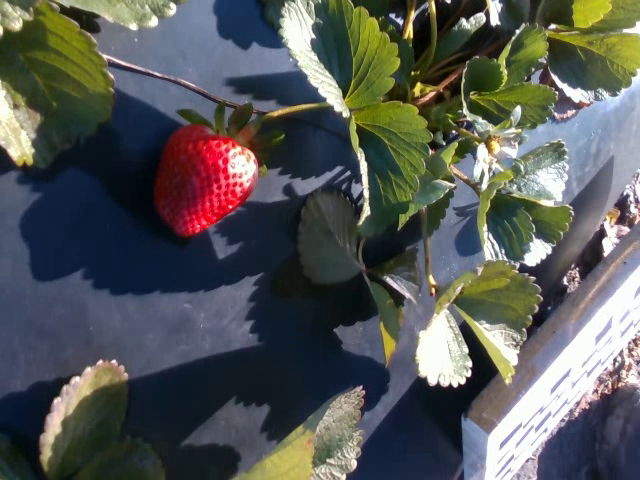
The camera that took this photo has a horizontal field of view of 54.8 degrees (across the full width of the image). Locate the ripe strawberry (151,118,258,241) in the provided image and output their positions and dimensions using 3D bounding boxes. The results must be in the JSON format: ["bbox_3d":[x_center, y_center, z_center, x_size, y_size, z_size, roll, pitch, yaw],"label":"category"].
[{"bbox_3d":[-0.046,-0.023,0.242,0.044,0.056,0.042,18,-19,21],"label":"ripe strawberry"}]
